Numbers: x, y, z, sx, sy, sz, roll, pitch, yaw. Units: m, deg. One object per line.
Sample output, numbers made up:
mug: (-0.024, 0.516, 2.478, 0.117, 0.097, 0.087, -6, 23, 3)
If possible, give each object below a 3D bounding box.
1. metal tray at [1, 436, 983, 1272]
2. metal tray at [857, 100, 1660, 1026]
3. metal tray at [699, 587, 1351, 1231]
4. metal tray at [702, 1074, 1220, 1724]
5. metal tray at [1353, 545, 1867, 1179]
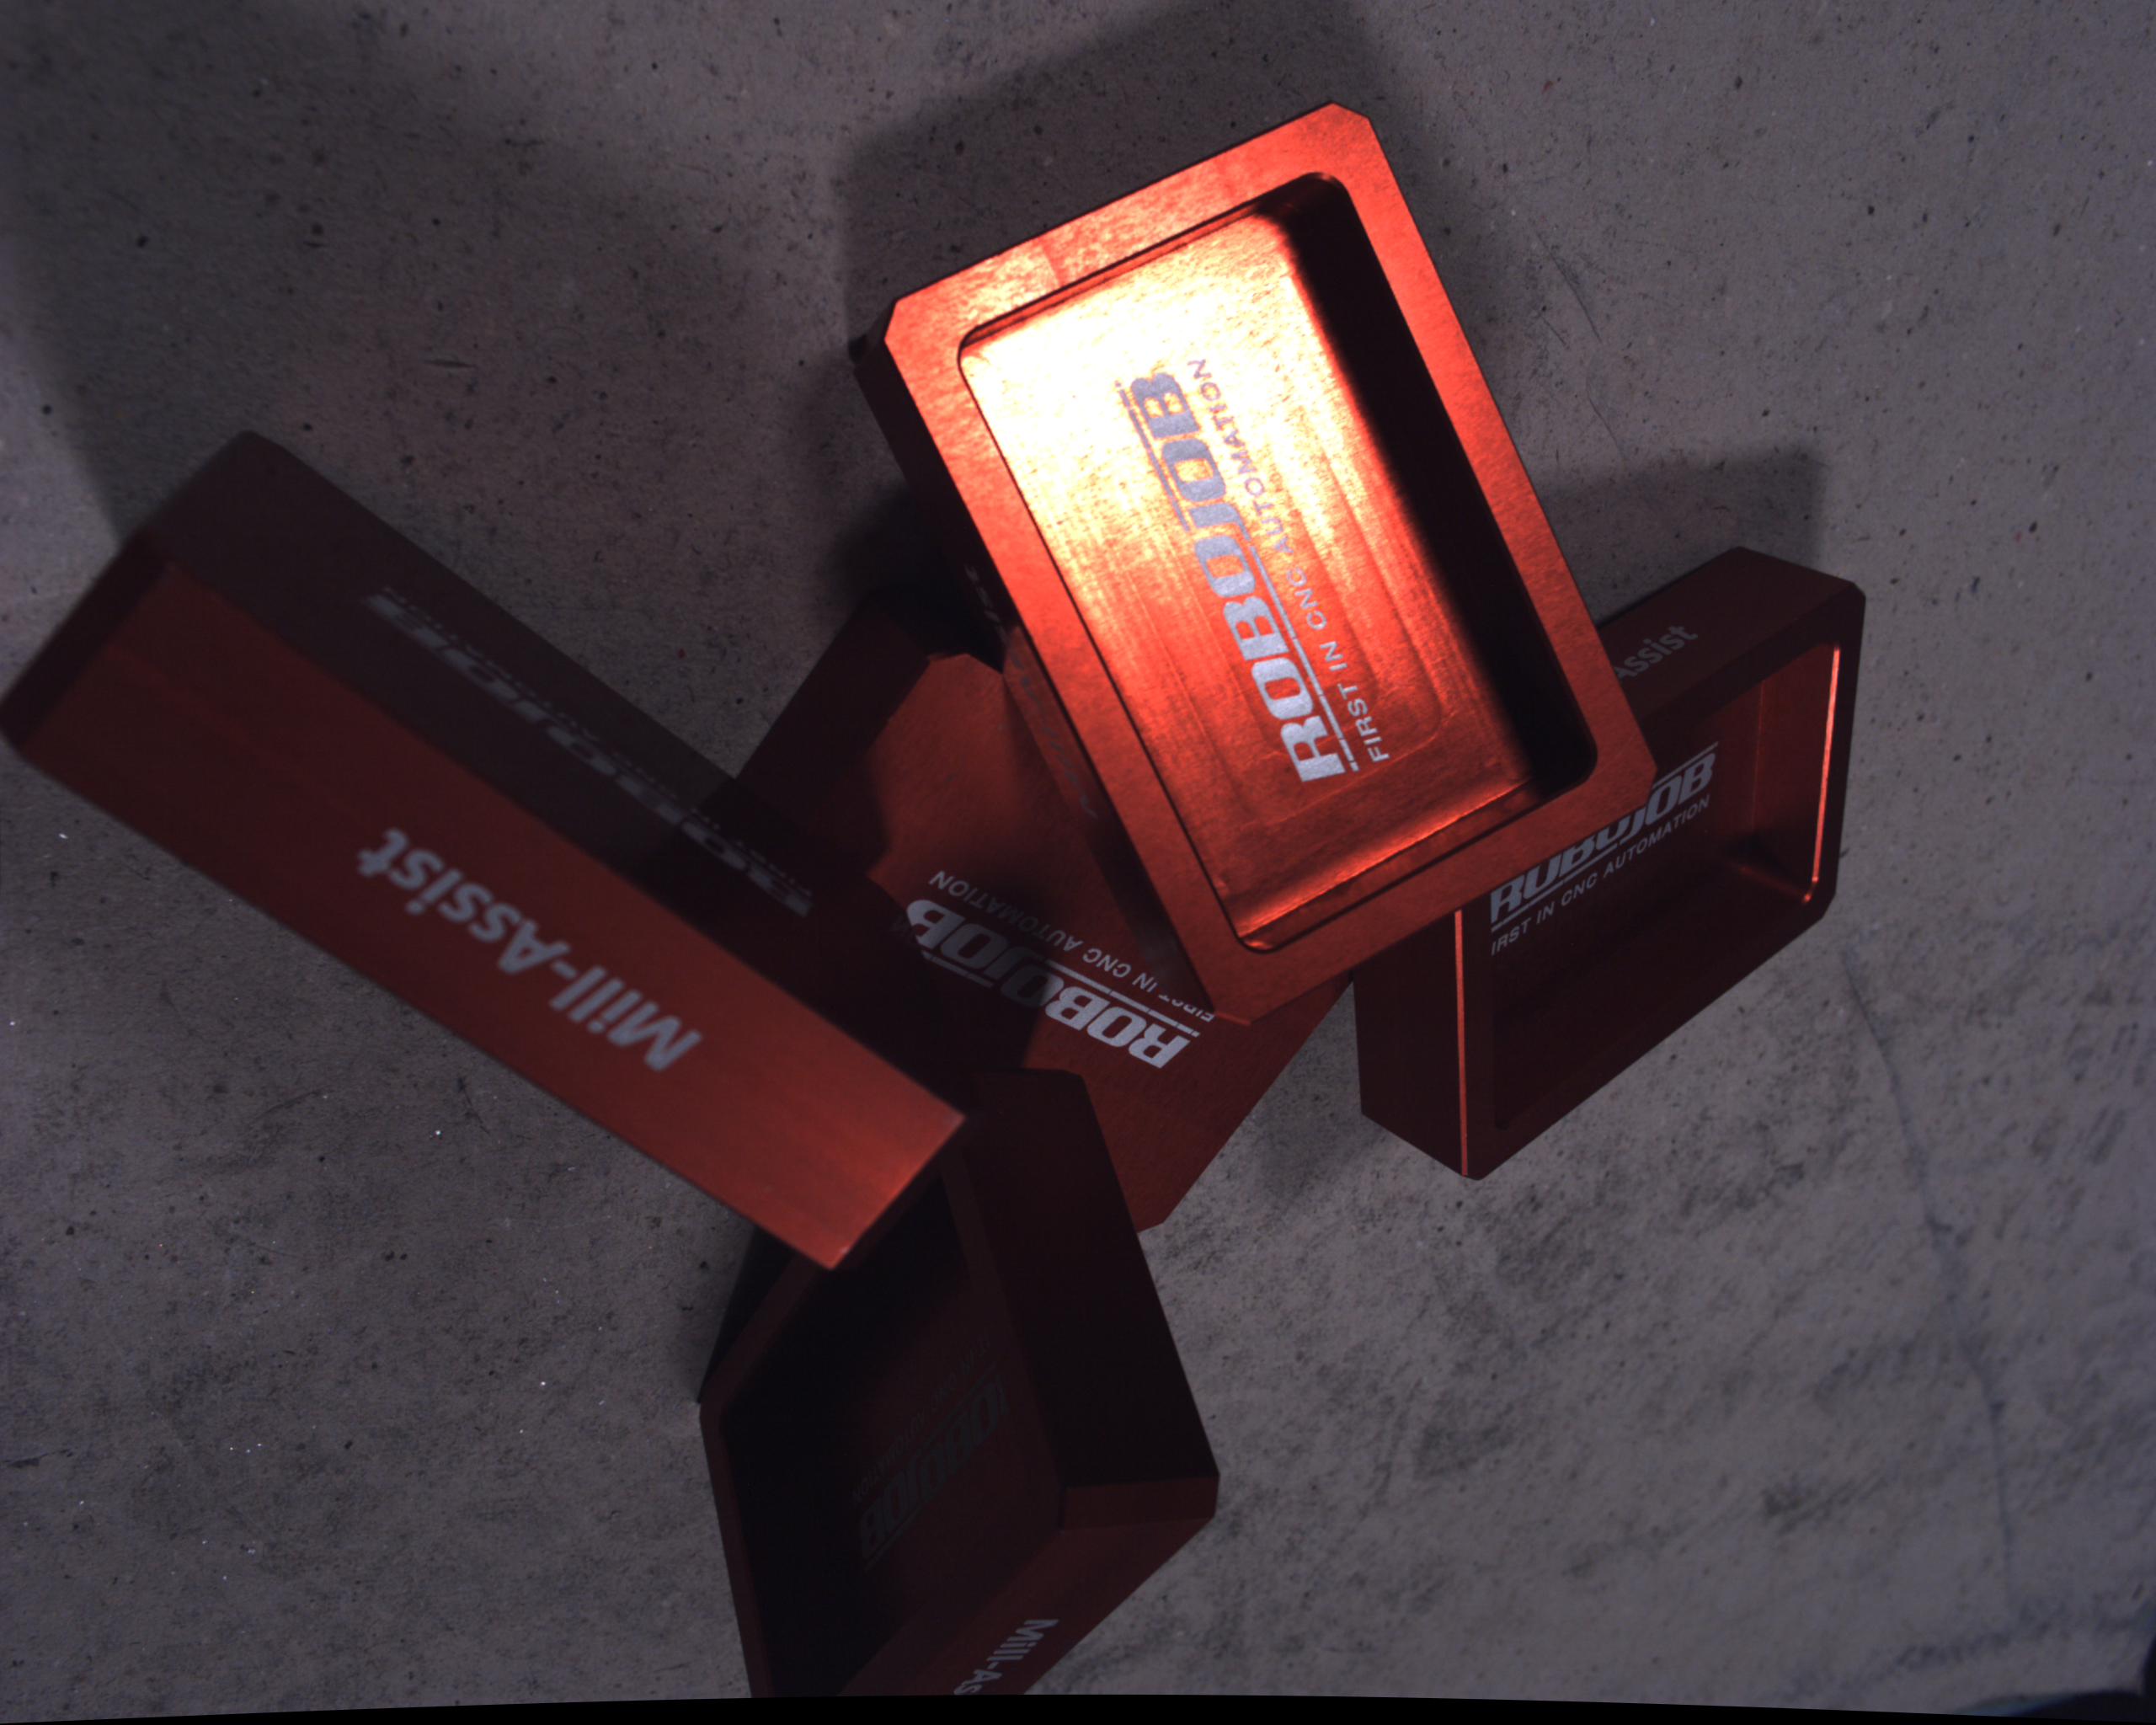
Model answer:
metal tray: (-0.079, -0.003, 0.302, 0.130, 0.090, 0.030, 38, 97, -23)
metal tray: (0.031, -0.049, 0.355, 0.090, 0.030, 0.129, -28, 99, -11)
metal tray: (-0.010, 0.015, 0.410, 0.131, 0.030, 0.090, 28, 103, -38)
metal tray: (-0.029, 0.111, 0.395, 0.030, 0.090, 0.129, 6, 136, -31)
metal tray: (0.115, -0.002, 0.448, 0.131, 0.030, 0.089, -30, 130, -28)
